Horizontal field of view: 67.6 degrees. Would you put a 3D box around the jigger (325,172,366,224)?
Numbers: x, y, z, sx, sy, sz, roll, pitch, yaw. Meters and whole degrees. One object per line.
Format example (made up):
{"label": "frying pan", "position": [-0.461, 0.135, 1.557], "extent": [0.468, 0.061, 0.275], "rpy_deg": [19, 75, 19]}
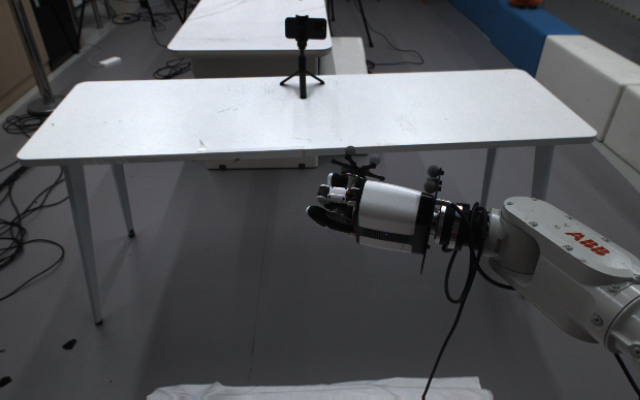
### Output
{"label": "jigger", "position": [0.042, -0.004, 0.741], "extent": [0.043, 0.043, 0.071], "rpy_deg": [15, 71, 18]}
